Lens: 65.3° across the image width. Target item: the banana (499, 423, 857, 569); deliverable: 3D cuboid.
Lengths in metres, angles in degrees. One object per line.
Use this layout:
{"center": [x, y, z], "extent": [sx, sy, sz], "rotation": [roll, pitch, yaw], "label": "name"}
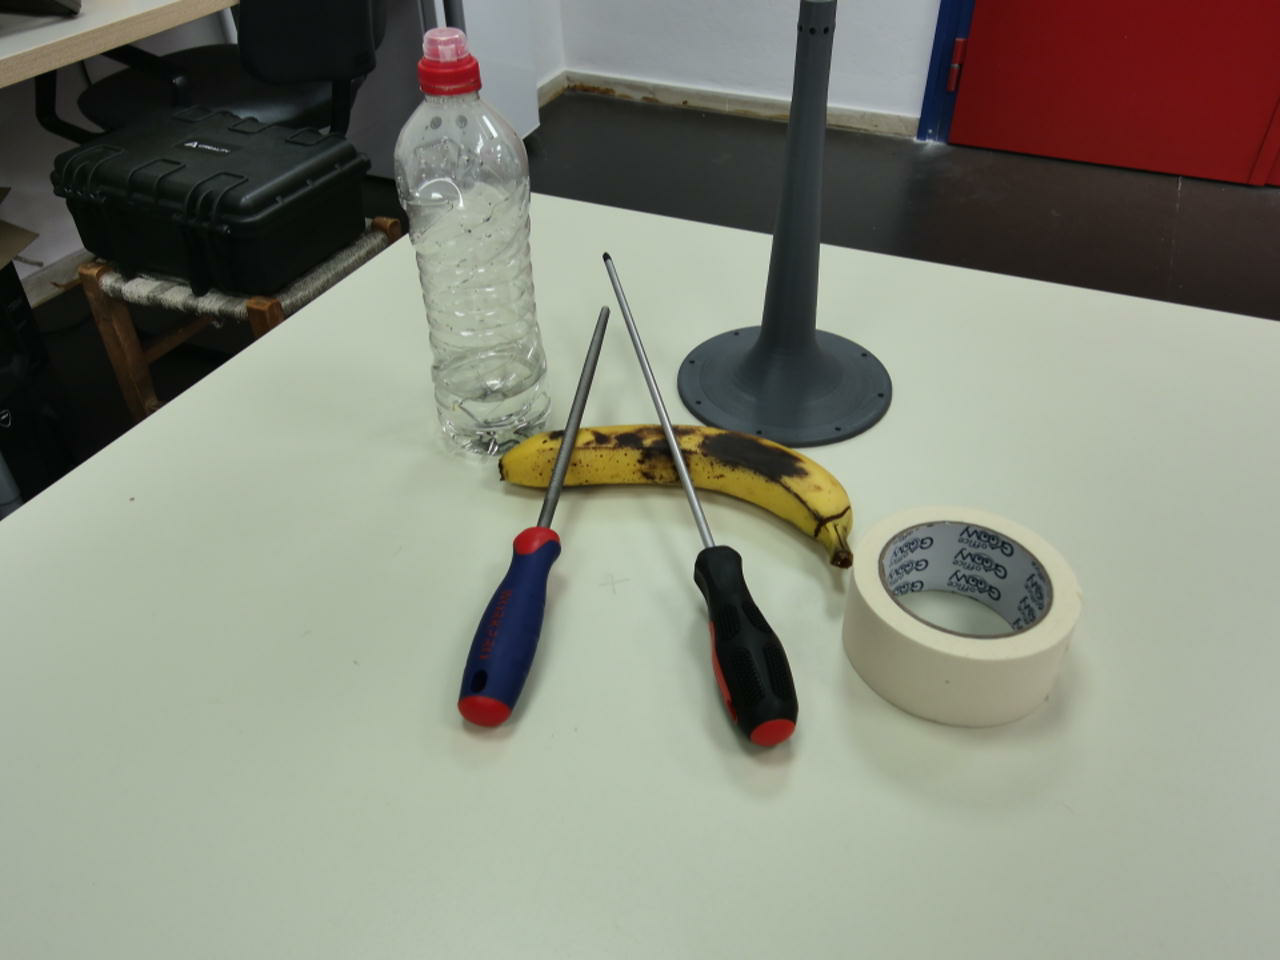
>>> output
{"center": [0.029, -0.003, 0.596], "extent": [0.222, 0.037, 0.084], "rotation": [16, 41, 20], "label": "banana"}
